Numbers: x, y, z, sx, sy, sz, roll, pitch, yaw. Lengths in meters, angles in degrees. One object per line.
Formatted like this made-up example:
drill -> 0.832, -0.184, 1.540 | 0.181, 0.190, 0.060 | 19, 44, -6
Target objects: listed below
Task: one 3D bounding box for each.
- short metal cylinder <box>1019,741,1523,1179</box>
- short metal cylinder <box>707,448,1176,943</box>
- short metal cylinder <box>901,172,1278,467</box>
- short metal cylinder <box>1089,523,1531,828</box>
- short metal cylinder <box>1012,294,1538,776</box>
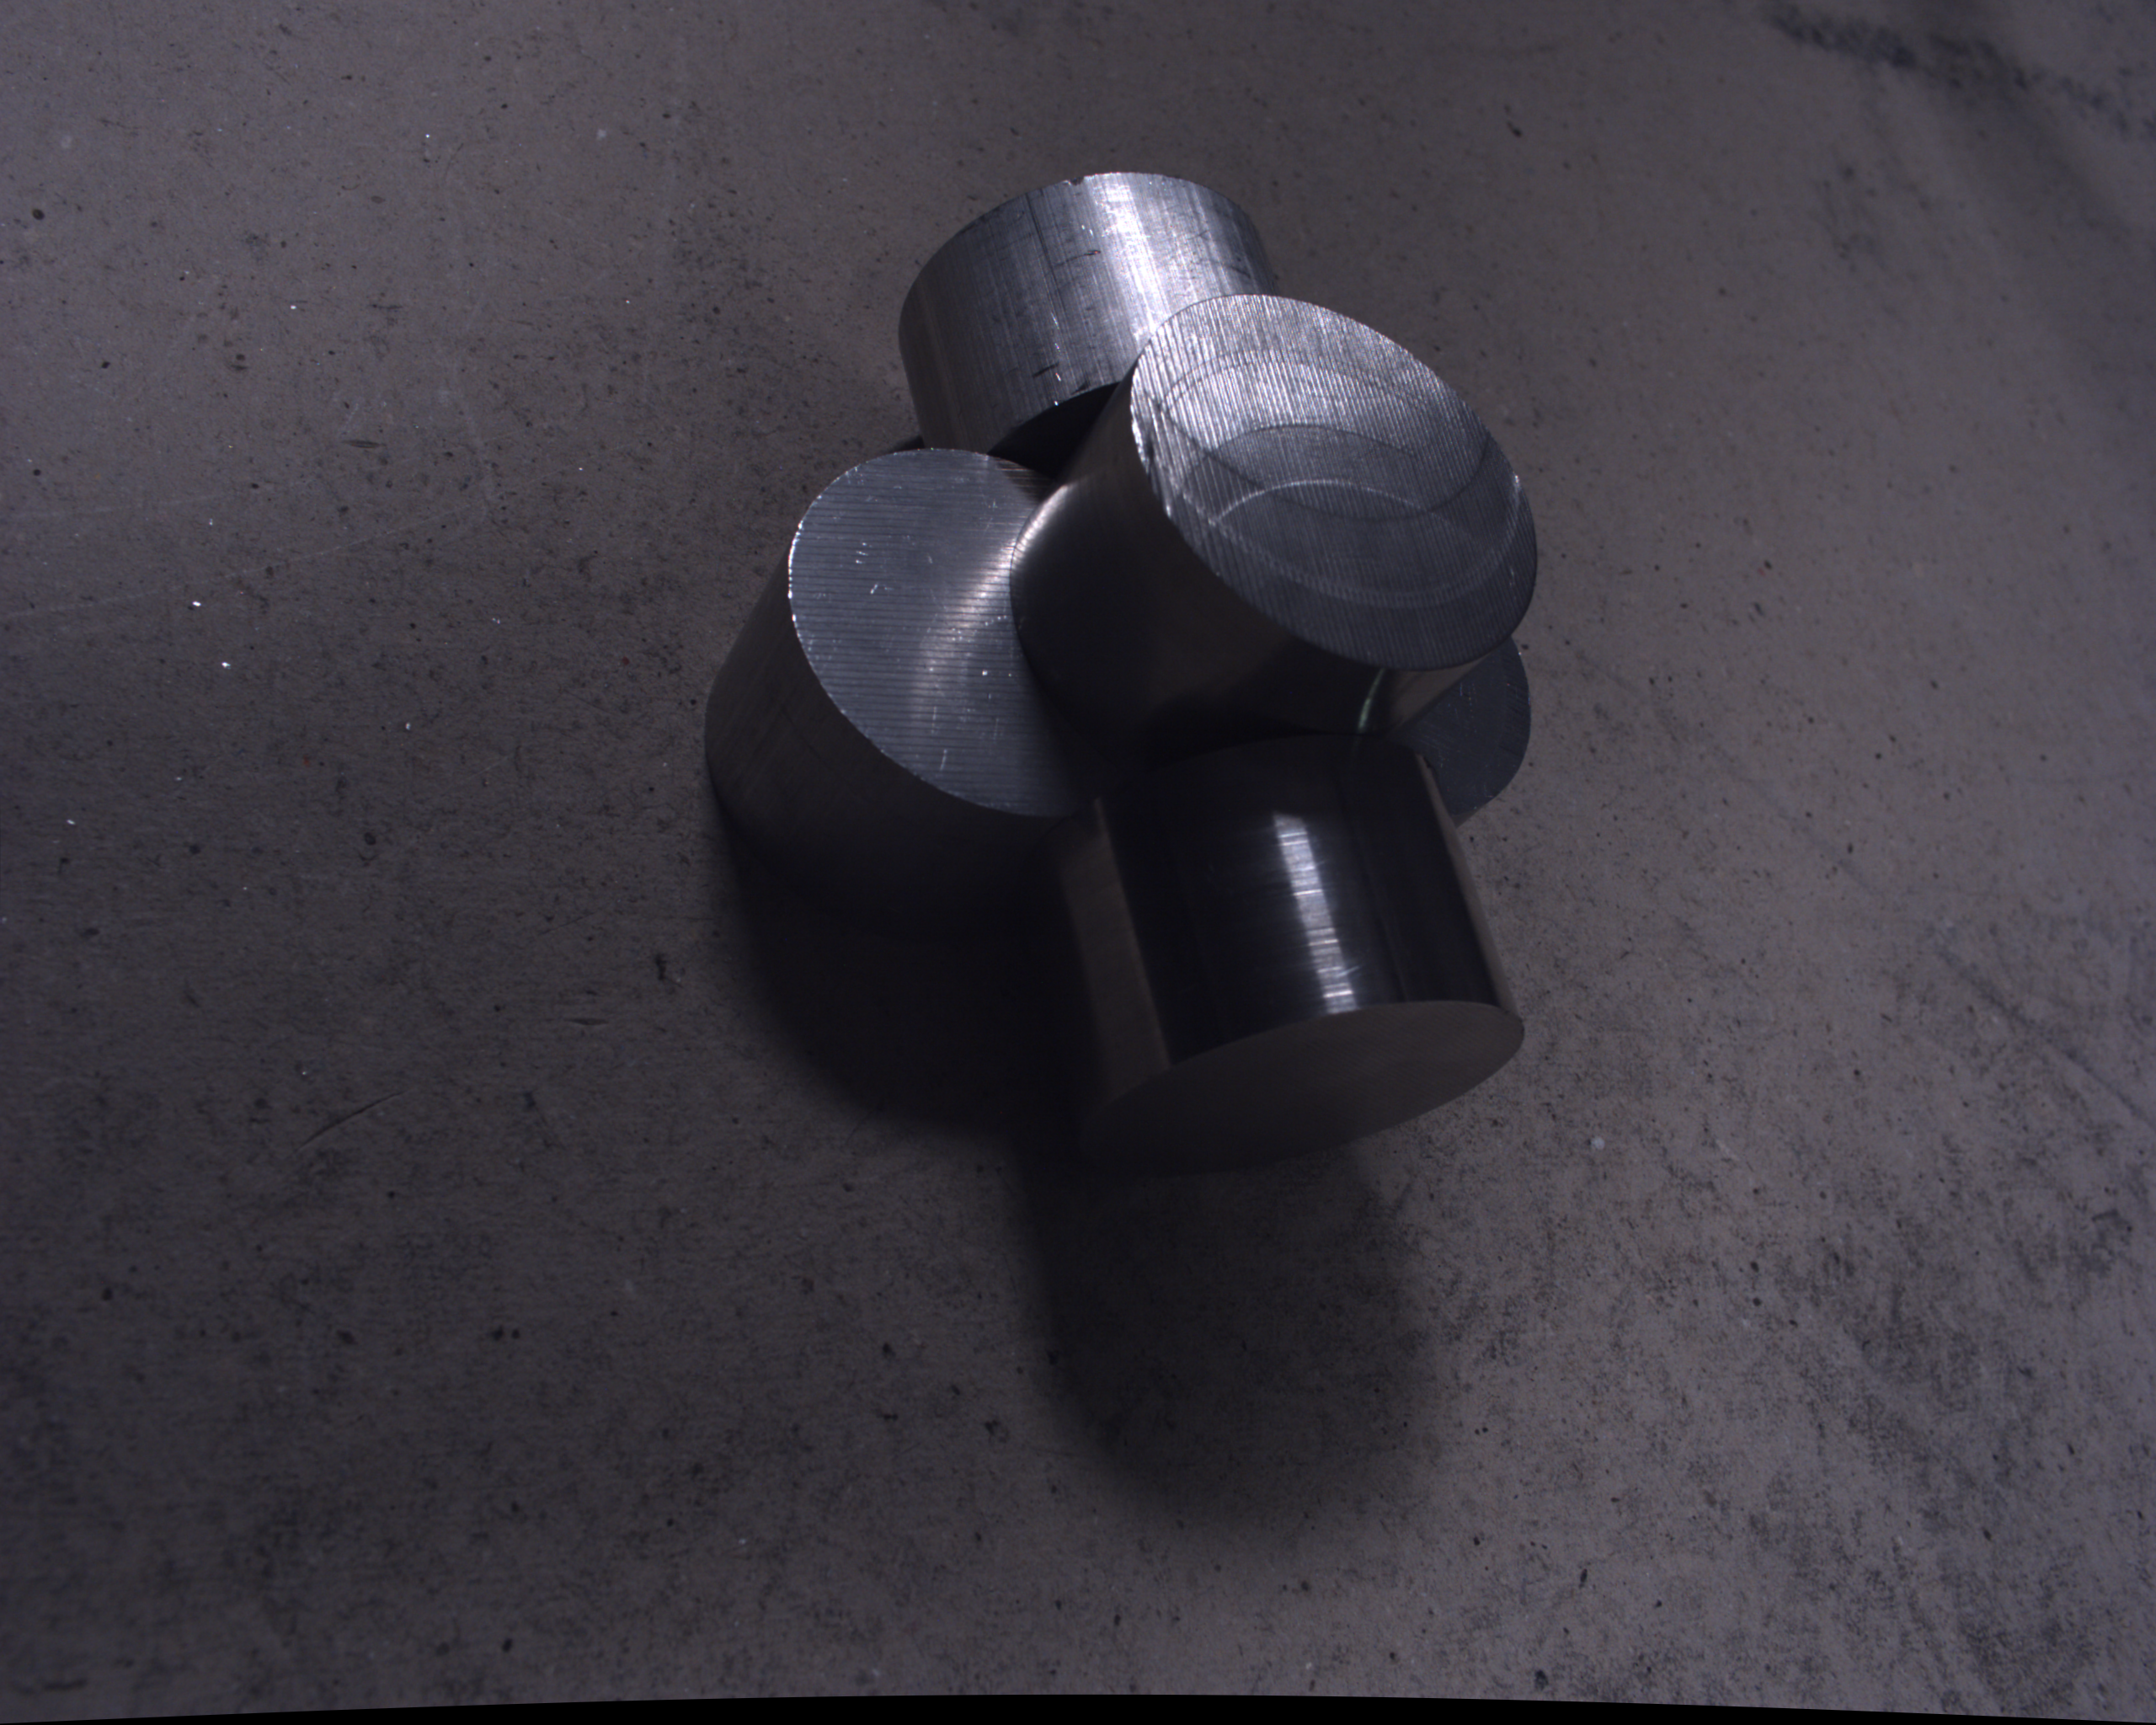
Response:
short metal cylinder -> 0.034, 0.020, 0.378 | 0.081, 0.080, 0.050 | 0, 62, -29
short metal cylinder -> -0.024, -0.031, 0.396 | 0.081, 0.050, 0.080 | 14, 56, -21
short metal cylinder -> 0.007, -0.096, 0.434 | 0.081, 0.080, 0.050 | 0, 62, -29
short metal cylinder -> 0.046, -0.032, 0.435 | 0.081, 0.050, 0.080 | 14, 56, -21
short metal cylinder -> 0.035, -0.055, 0.378 | 0.081, 0.050, 0.080 | 14, 56, -21
